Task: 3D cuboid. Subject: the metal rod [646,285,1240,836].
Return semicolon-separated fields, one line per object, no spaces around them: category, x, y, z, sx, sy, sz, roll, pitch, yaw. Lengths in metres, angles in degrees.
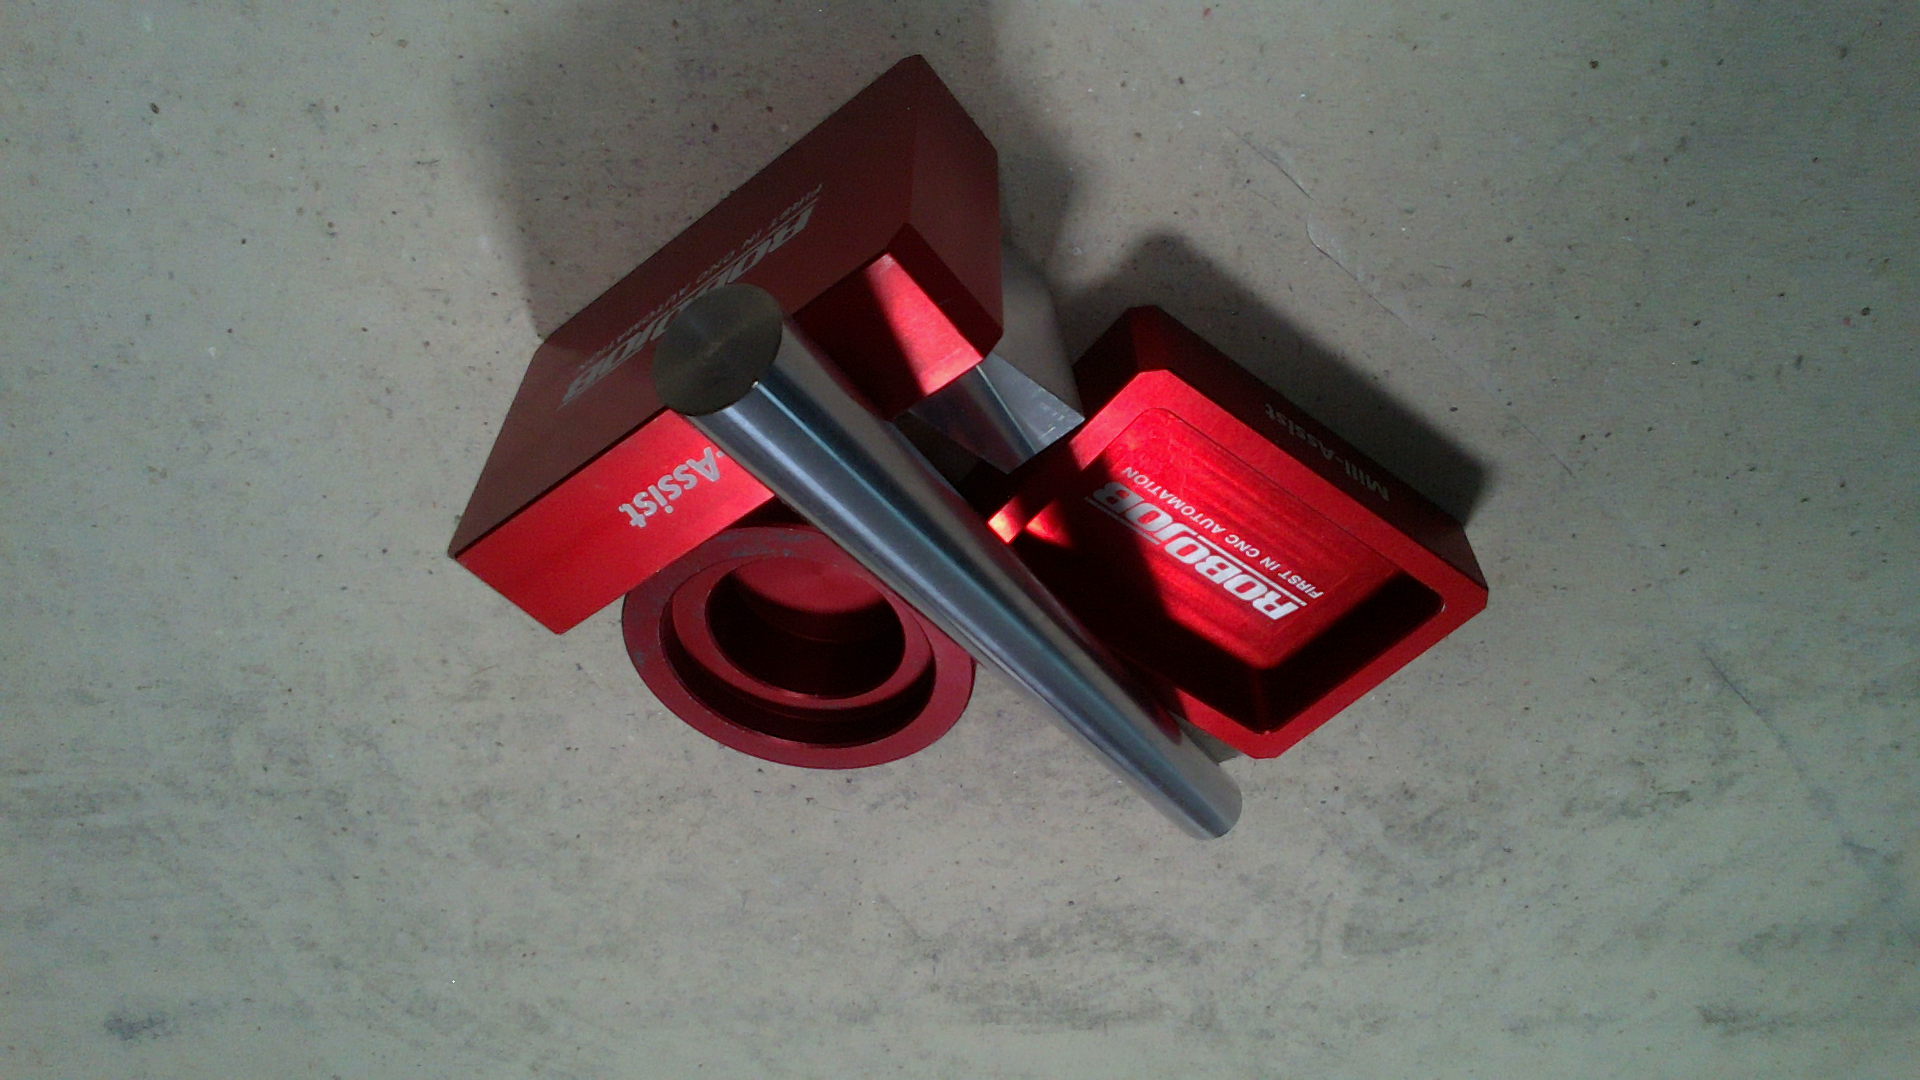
metal rod;0.021;0.029;0.346;0.025;0.025;0.301;-21;149;17

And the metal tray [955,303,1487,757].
metal tray;0.071;0.003;0.390;0.130;0.030;0.090;30;124;-23

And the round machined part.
round machined part;-0.042;0.018;0.390;0.098;0.042;0.098;4;133;4

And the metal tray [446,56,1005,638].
metal tray;-0.051;-0.044;0.310;0.130;0.090;0.030;-31;124;23

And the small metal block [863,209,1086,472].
small metal block;0.000;-0.052;0.324;0.025;0.050;0.050;-34;137;28
